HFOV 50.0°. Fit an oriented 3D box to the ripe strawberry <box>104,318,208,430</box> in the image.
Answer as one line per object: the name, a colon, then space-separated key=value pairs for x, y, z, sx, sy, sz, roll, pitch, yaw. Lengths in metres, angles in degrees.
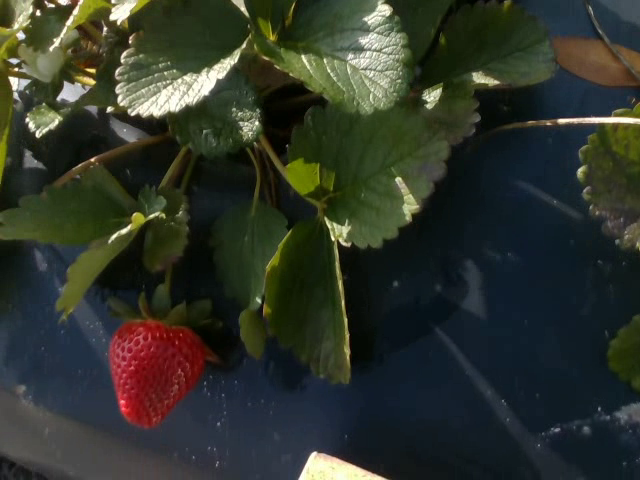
ripe strawberry: x=-0.060 y=0.049 z=0.240 sx=0.041 sy=0.047 sz=0.041 roll=-1 pitch=-25 yaw=39
